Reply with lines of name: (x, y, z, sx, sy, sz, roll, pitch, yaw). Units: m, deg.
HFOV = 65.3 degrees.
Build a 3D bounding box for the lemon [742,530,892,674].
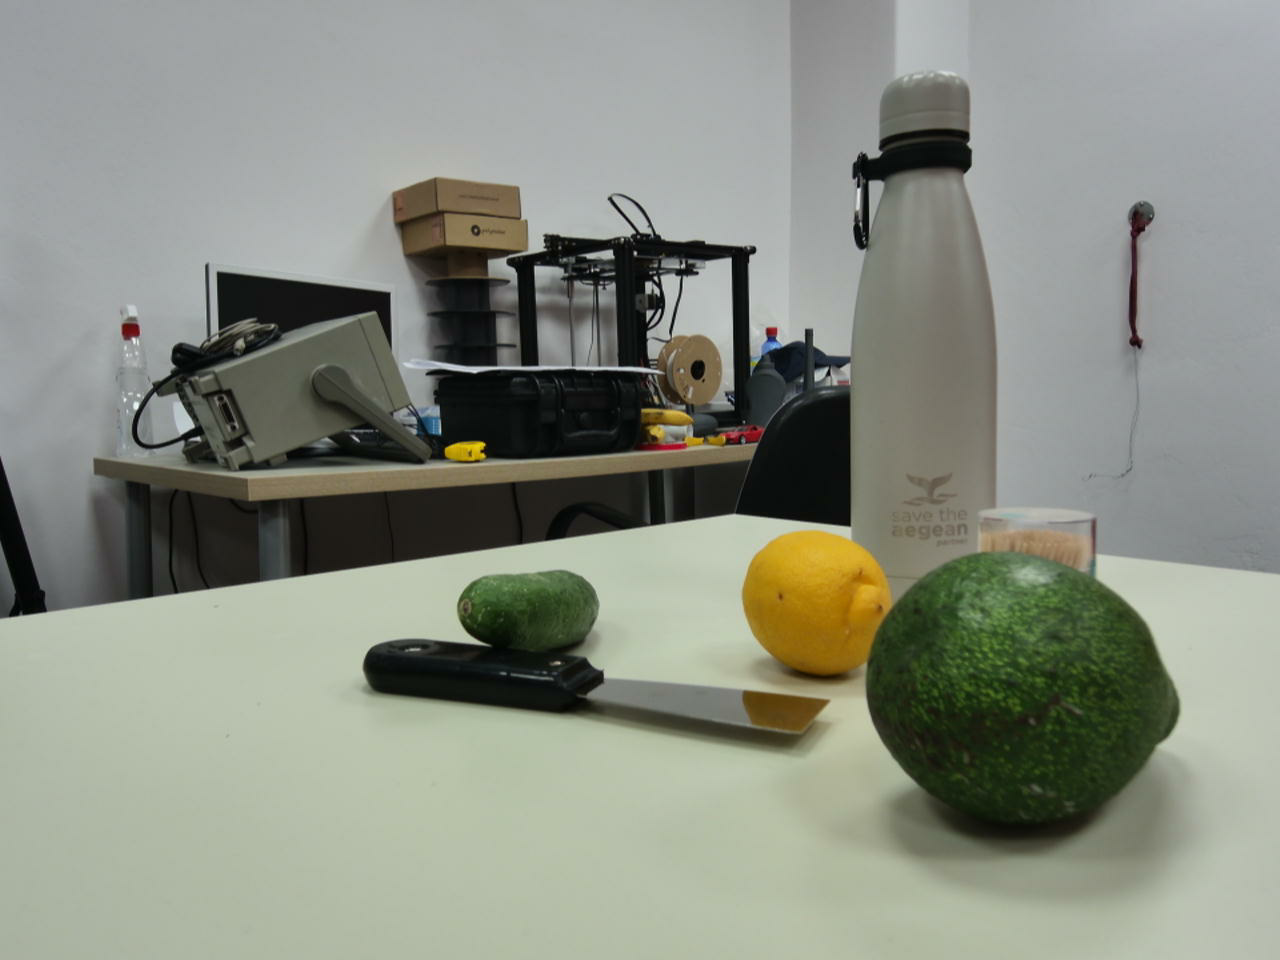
lemon: (0.075, 0.052, 0.431, 0.061, 0.059, 0.067, 0, 3, 2)
